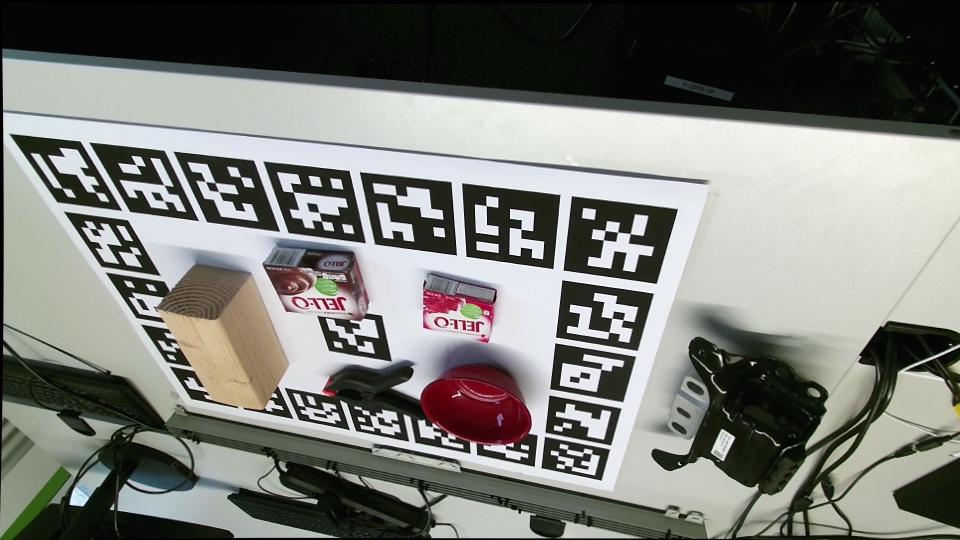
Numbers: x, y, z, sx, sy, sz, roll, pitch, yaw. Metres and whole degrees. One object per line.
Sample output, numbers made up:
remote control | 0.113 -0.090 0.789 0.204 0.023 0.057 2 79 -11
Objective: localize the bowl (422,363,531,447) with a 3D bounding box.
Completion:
bowl | -0.003 0.183 0.766 0.162 0.055 0.162 9 129 11

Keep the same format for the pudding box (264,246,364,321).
pudding box | -0.212 0.016 0.686 0.114 0.038 0.090 5 127 9

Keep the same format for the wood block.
wood block | -0.371 0.101 0.771 0.090 0.090 0.206 10 132 9

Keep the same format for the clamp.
clamp | -0.157 0.188 0.831 0.165 0.036 0.122 0 130 19

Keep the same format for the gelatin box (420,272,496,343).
gelatin box | -0.029 0.048 0.662 0.089 0.030 0.073 13 131 5
